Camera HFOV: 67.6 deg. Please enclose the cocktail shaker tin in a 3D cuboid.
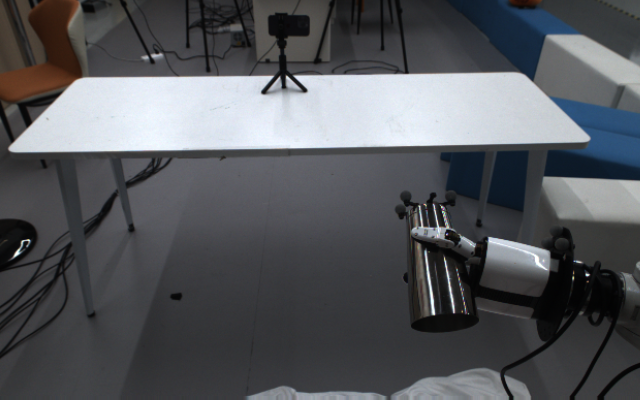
[{"bbox_3d":[0.166,0.092,0.693,0.093,0.093,0.170,0,59,-3],"label":"cocktail shaker tin"}]
